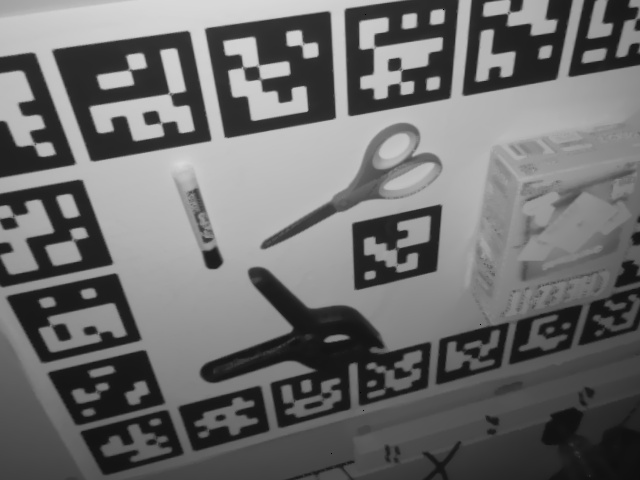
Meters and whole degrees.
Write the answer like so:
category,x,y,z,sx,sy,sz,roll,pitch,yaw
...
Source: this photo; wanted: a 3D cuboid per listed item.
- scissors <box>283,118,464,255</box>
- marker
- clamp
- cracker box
category,x,y,z,sx,sy,sz,roll,pitch,yaw
scissors,0.048,-0.039,0.682,0.201,0.016,0.088,-34,131,11
marker,-0.090,-0.012,0.653,0.020,0.020,0.120,-16,130,-7
clamp,0.013,0.113,0.794,0.205,0.037,0.163,13,122,-27
cracker box,0.285,-0.012,0.754,0.165,0.072,0.212,-12,129,-10
